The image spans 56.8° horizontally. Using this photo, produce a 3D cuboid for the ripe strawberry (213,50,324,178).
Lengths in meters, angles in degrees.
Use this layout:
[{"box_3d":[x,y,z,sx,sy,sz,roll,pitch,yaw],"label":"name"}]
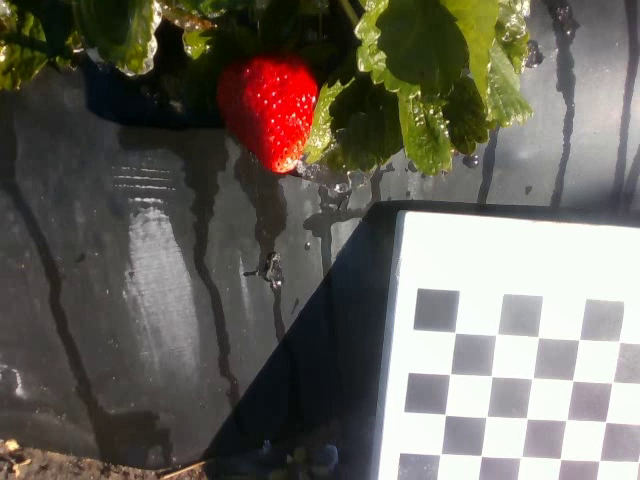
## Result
[{"box_3d":[-0.017,-0.045,0.217,0.041,0.053,0.047,-2,-30,-5],"label":"ripe strawberry"}]
